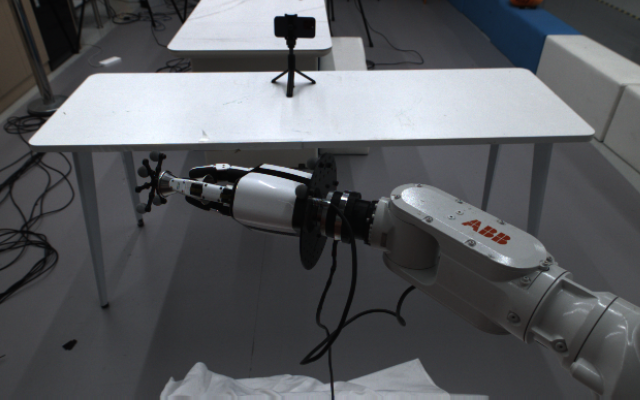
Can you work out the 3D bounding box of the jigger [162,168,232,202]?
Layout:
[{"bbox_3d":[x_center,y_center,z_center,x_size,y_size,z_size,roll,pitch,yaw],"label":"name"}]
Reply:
[{"bbox_3d":[-0.187,-0.021,0.697,0.071,0.043,0.043,8,35,13],"label":"jigger"}]
